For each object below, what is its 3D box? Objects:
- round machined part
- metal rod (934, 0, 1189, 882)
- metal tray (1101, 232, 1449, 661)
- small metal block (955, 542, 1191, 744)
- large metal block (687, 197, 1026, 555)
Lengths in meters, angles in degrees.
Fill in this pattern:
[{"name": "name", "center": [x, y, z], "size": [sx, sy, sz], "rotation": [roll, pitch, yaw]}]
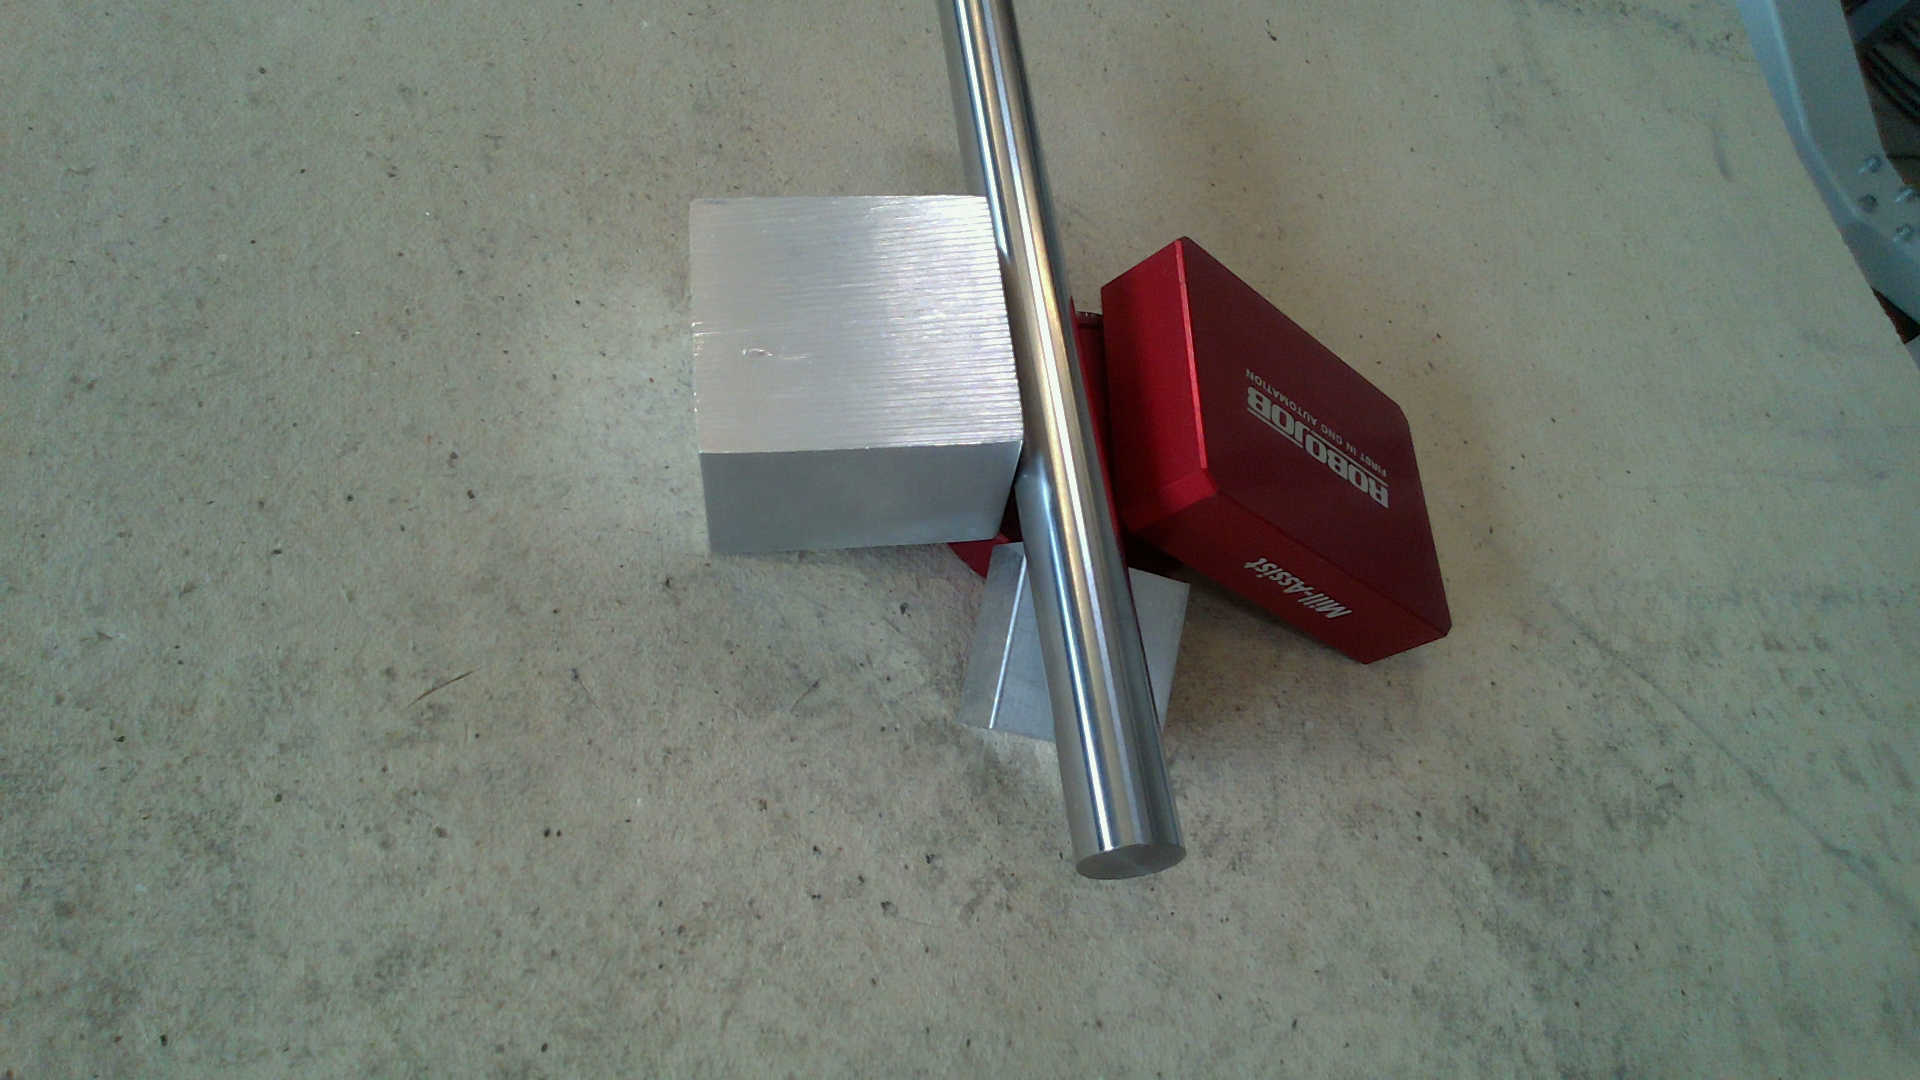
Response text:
[{"name": "round machined part", "center": [0.037, -0.030, 0.417], "size": [0.098, 0.042, 0.098], "rotation": [14, 56, -21]}, {"name": "metal rod", "center": [0.021, -0.056, 0.381], "size": [0.025, 0.025, 0.300], "rotation": [8, 56, -24]}, {"name": "metal tray", "center": [0.099, -0.025, 0.427], "size": [0.130, 0.030, 0.090], "rotation": [26, 50, -38]}, {"name": "small metal block", "center": [0.031, 0.031, 0.375], "size": [0.050, 0.025, 0.050], "rotation": [14, 81, -19]}, {"name": "large metal block", "center": [-0.031, -0.045, 0.371], "size": [0.080, 0.050, 0.080], "rotation": [-2, 61, -9]}]
